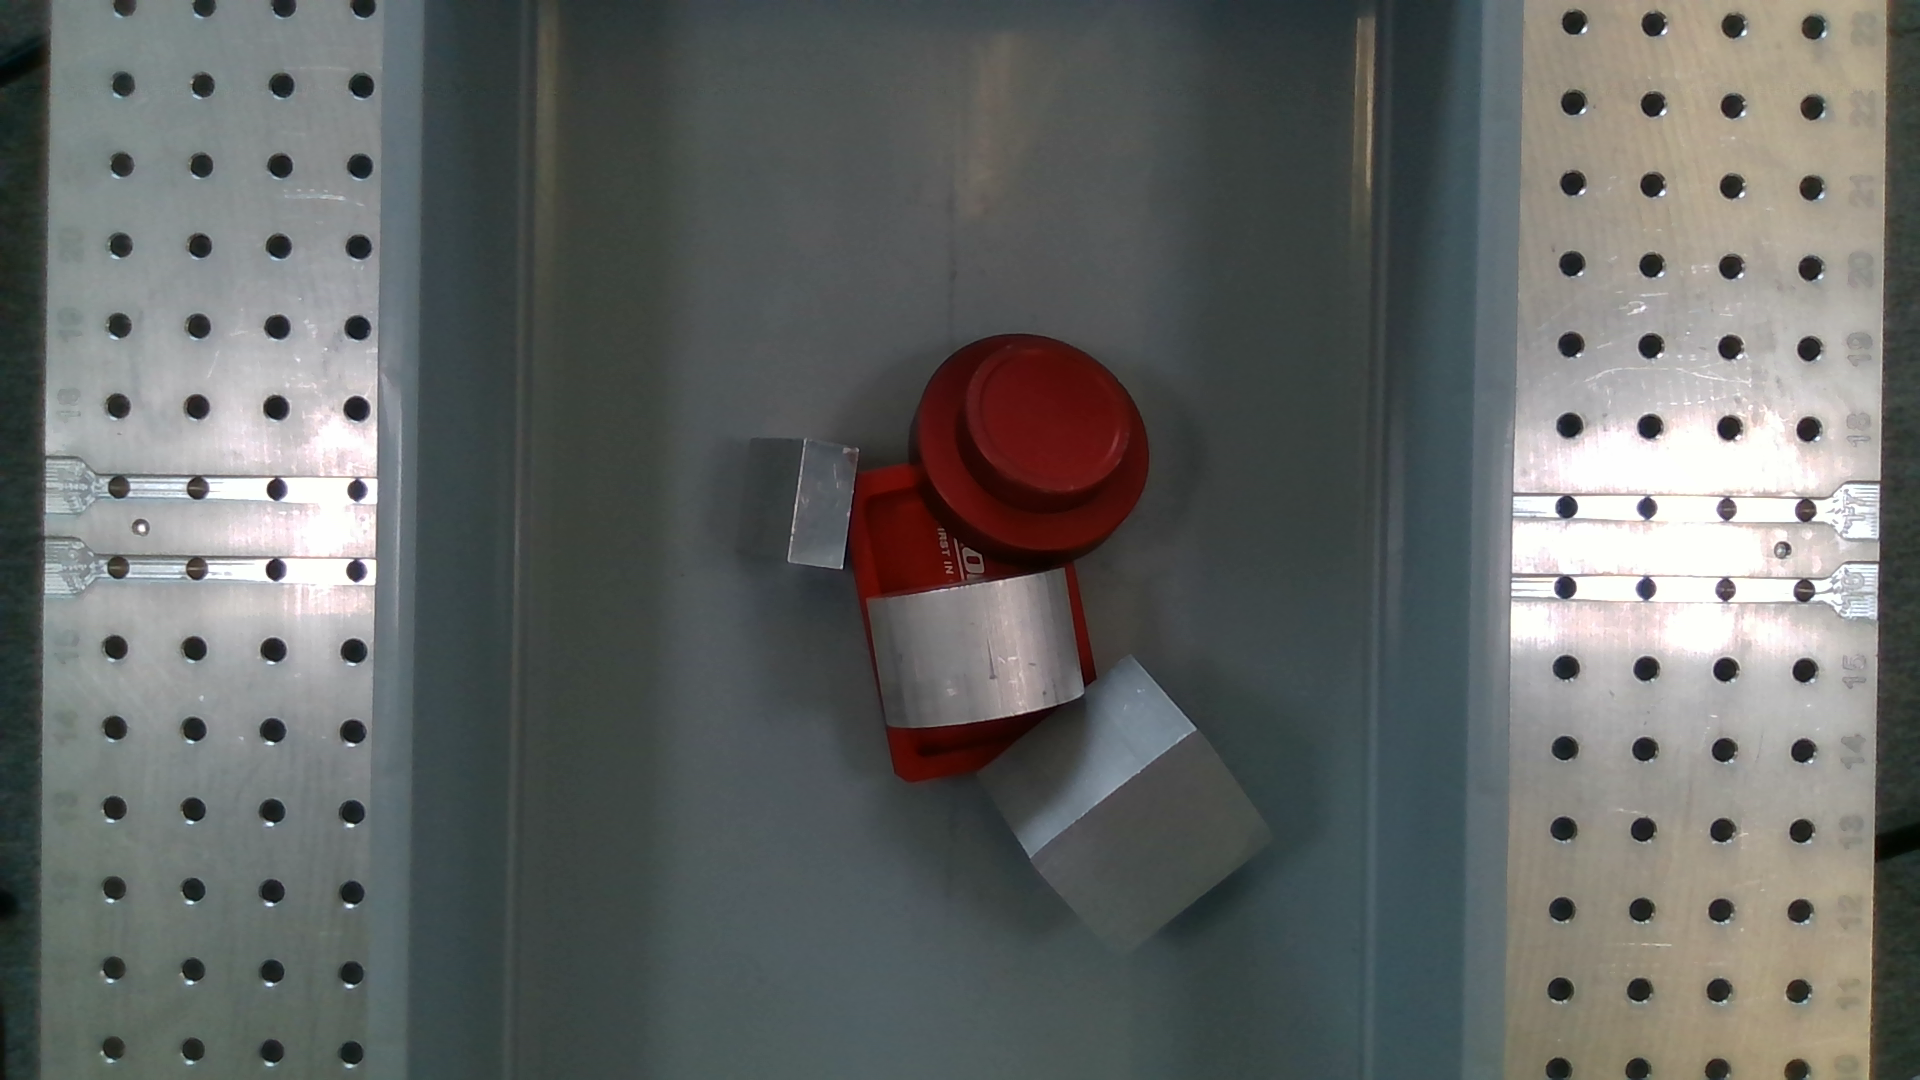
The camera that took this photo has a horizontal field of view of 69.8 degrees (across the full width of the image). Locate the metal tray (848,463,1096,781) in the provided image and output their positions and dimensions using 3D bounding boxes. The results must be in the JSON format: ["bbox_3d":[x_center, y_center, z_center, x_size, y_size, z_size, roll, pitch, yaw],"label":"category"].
[{"bbox_3d":[0.005,0.029,0.585,0.090,0.030,0.130,-11,91,0],"label":"metal tray"}]

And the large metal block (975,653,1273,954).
[{"bbox_3d":[0.067,0.107,0.555,0.080,0.050,0.080,-38,127,1],"label":"large metal block"}]

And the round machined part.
[{"bbox_3d":[0.030,-0.042,0.558,0.098,0.042,0.098,6,66,-13],"label":"round machined part"}]

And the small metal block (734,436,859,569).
[{"bbox_3d":[-0.069,-0.016,0.571,0.025,0.050,0.050,8,89,-34],"label":"small metal block"}]

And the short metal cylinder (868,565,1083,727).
[{"bbox_3d":[0.006,0.041,0.547,0.080,0.080,0.050,-9,91,0],"label":"short metal cylinder"}]
